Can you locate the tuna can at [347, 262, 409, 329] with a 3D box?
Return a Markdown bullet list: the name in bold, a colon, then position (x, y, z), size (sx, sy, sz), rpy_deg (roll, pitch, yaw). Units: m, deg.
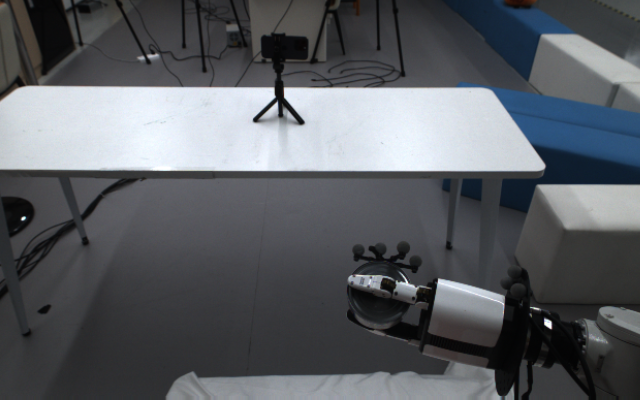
- **tuna can**: position (0.079, 0.121, 0.640), size (0.085, 0.034, 0.085), rpy_deg (-2, 56, 3)
